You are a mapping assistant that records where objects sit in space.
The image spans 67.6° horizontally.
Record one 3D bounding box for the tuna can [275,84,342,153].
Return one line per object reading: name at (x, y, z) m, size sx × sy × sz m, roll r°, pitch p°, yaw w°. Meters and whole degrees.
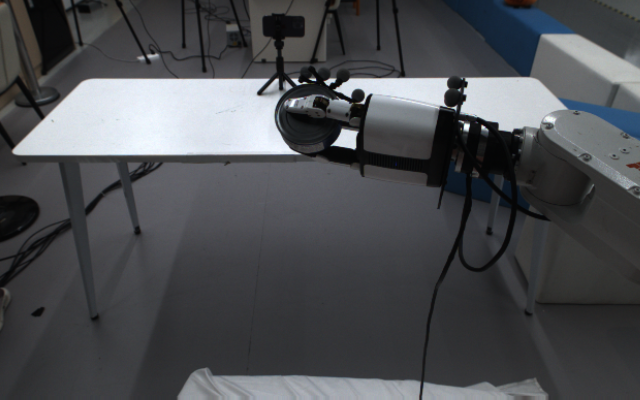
tuna can at (-0.014, -0.106, 0.630) m, size 0.085 × 0.034 × 0.085 m, roll -2°, pitch 71°, yaw 6°
